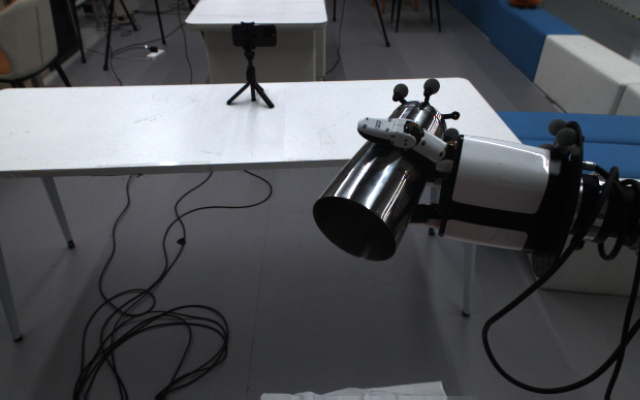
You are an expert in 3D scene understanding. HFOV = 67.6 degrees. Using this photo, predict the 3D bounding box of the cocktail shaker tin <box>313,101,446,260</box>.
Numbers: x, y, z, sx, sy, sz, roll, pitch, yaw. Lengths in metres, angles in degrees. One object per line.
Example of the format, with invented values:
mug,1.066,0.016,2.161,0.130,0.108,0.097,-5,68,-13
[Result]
cocktail shaker tin,0.077,-0.034,0.513,0.093,0.093,0.170,19,55,22
